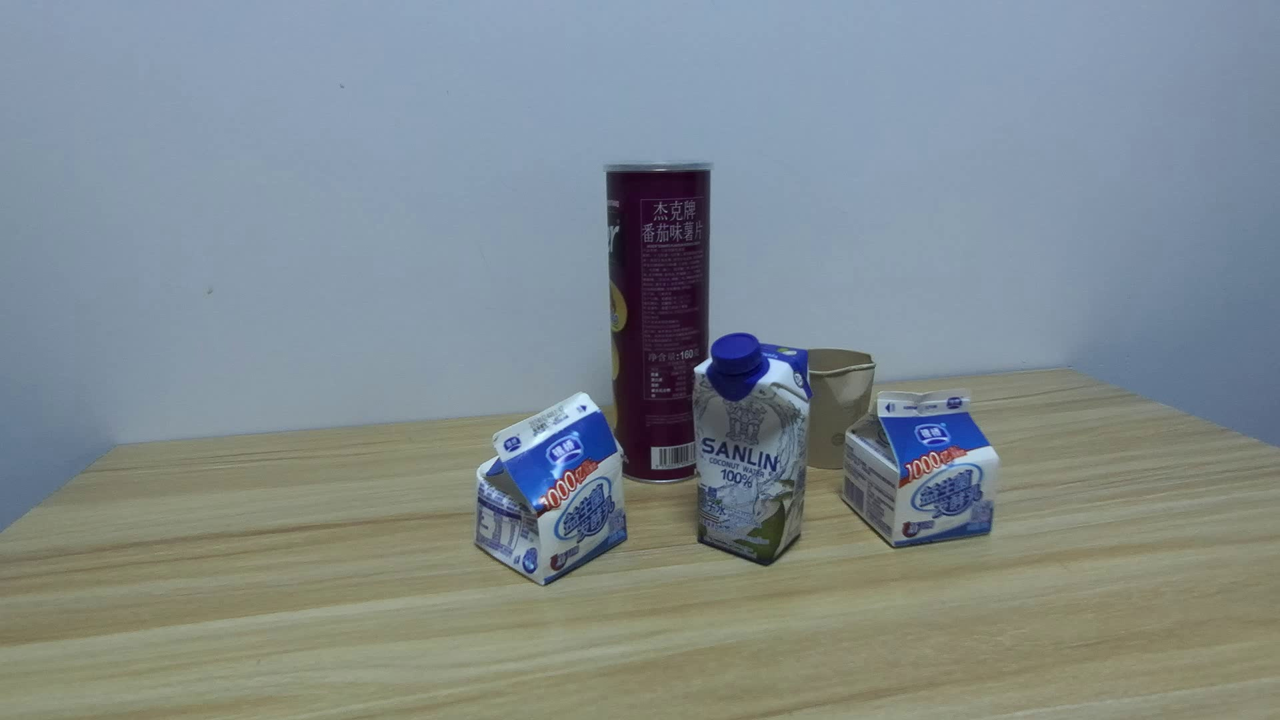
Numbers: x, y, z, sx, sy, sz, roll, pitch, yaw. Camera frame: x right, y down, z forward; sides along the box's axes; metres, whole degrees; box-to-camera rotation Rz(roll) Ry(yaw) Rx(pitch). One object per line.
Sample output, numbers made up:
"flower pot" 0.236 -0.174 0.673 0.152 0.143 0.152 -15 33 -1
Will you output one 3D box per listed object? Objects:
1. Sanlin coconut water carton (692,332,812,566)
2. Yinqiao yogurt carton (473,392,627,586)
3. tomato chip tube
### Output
"Sanlin coconut water carton" 0.068 0.050 0.437 0.077 0.142 0.058 11 25 35
"Yinqiao yogurt carton" -0.055 0.073 0.448 0.077 0.093 0.083 15 24 43
"tomato chip tube" 0.016 -0.027 0.537 0.078 0.234 0.078 -1 15 1
